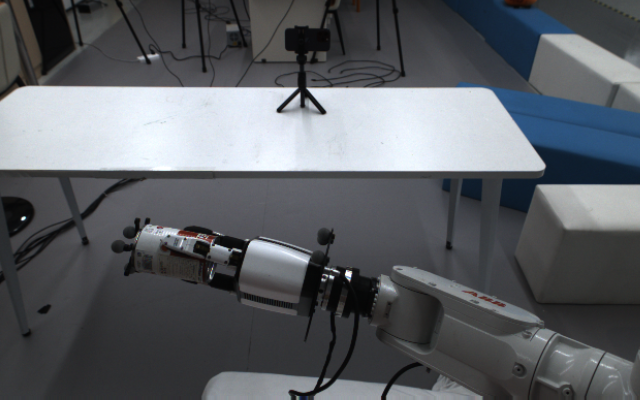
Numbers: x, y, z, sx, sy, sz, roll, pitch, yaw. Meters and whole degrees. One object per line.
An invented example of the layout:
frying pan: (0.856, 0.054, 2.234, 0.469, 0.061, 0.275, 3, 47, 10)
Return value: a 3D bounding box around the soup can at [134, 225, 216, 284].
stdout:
soup can: (-0.193, 0.076, 0.662, 0.101, 0.067, 0.067, 10, 35, -1)
